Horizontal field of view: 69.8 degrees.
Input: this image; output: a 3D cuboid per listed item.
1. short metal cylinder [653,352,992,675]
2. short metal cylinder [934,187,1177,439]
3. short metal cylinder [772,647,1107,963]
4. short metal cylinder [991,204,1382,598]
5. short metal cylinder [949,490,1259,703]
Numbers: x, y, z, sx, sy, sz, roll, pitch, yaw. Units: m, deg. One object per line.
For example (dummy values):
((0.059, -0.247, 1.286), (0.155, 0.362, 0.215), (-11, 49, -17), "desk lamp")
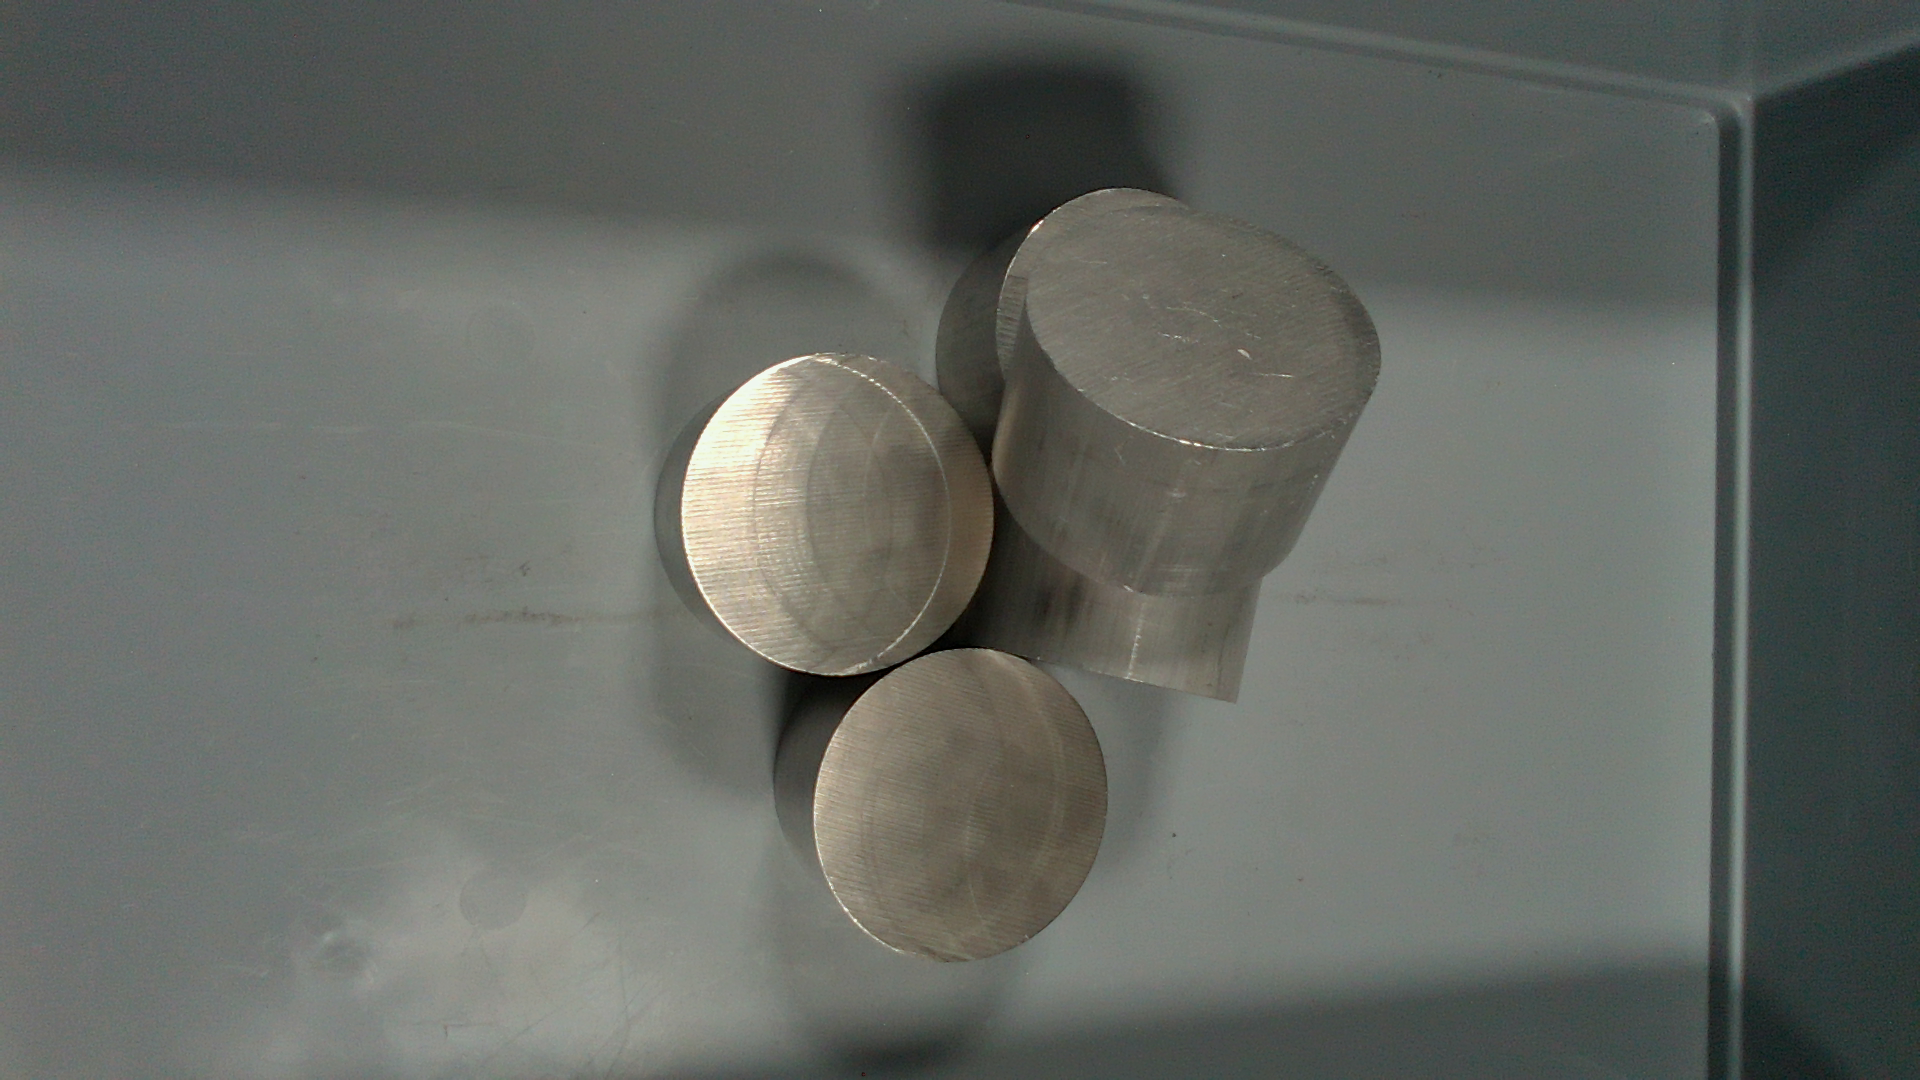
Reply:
((-0.038, -0.007, 0.365), (0.080, 0.050, 0.080), (0, 90, -20), "short metal cylinder")
((0.038, -0.055, 0.393), (0.080, 0.050, 0.080), (0, 90, -20), "short metal cylinder")
((-0.007, 0.068, 0.376), (0.080, 0.050, 0.080), (0, 90, -20), "short metal cylinder")
((0.051, -0.033, 0.323), (0.080, 0.050, 0.080), (5, 50, -6), "short metal cylinder")
((0.041, 0.012, 0.379), (0.080, 0.080, 0.050), (14, 85, -19), "short metal cylinder")
